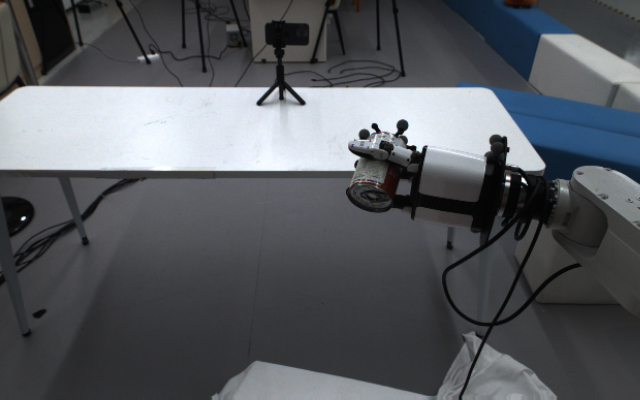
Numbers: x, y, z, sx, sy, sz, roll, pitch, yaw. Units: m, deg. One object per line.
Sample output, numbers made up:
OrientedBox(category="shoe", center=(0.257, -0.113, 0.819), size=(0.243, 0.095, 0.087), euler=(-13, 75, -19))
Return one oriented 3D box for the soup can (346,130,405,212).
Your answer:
OrientedBox(category="soup can", center=(0.086, -0.043, 0.713), size=(0.067, 0.067, 0.101), euler=(12, 59, 14))
